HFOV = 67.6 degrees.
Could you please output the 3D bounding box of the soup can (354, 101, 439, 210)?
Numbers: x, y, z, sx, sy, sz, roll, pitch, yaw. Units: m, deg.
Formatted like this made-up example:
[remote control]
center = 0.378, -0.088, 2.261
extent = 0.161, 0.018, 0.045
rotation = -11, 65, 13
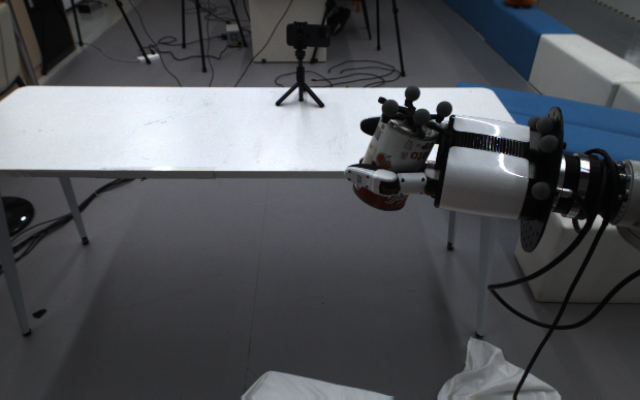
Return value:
[soup can]
center = 0.087, -0.047, 0.554
extent = 0.067, 0.101, 0.067
rotation = 14, 35, -10
